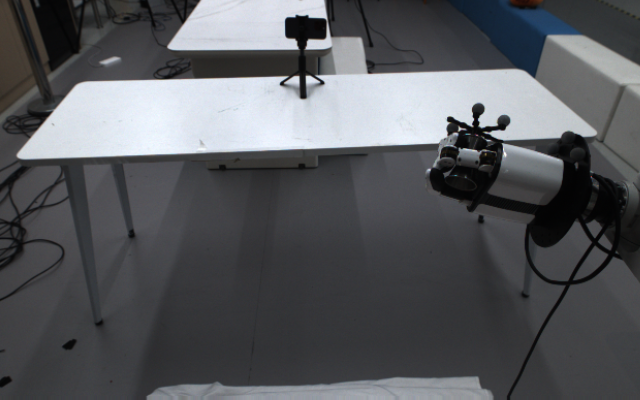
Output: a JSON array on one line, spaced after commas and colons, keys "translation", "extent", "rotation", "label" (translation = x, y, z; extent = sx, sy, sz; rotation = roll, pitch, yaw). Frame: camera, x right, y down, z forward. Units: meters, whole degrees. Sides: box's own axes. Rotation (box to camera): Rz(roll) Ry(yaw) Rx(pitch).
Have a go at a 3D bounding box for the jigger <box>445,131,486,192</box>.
[{"translation": [0.205, -0.055, 0.669], "extent": [0.043, 0.043, 0.071], "rotation": [15, 70, 17], "label": "jigger"}]
